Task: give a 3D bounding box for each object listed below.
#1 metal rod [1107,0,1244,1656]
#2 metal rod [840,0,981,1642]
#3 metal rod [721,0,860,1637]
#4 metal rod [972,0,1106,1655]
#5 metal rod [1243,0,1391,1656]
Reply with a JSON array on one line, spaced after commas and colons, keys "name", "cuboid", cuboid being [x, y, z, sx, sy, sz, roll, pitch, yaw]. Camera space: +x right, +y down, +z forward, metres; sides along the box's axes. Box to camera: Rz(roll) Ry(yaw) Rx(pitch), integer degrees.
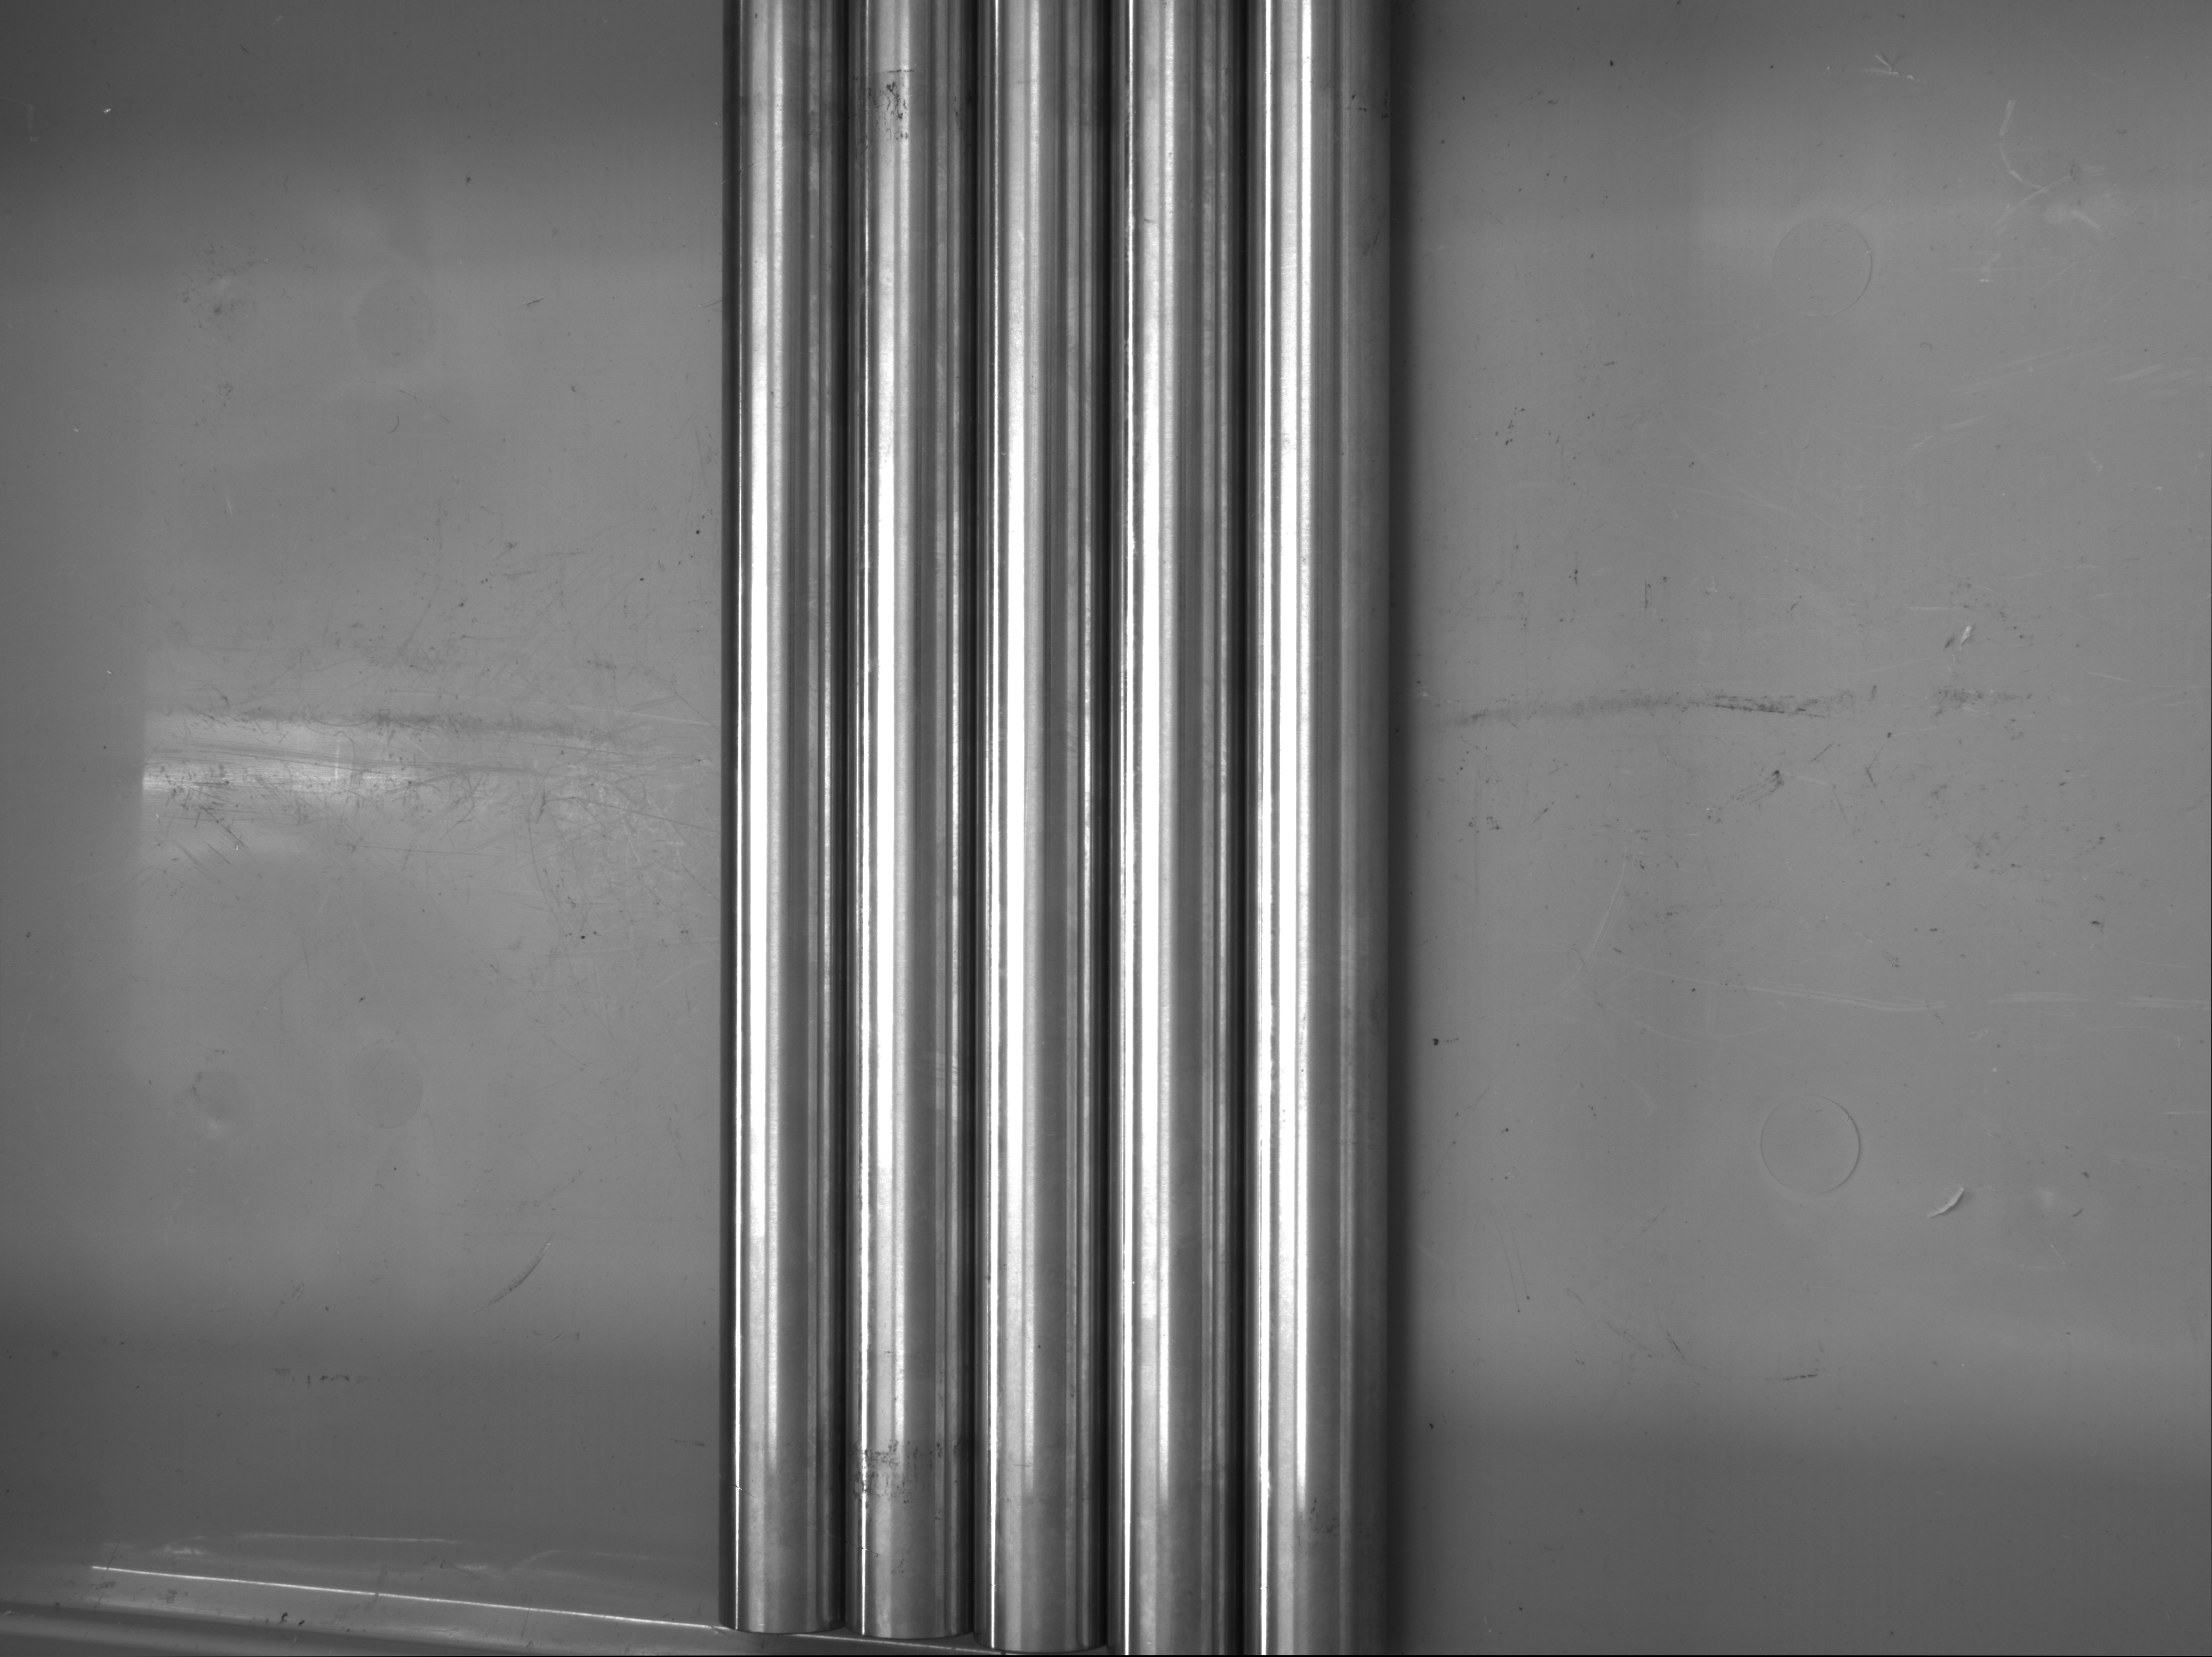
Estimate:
[{"name": "metal rod", "cuboid": [0.013, -0.006, 0.641, 0.025, 0.025, 0.300, 0, 90, 20]}, {"name": "metal rod", "cuboid": [-0.035, -0.007, 0.658, 0.025, 0.025, 0.300, 0, 90, 20]}, {"name": "metal rod", "cuboid": [-0.057, -0.006, 0.666, 0.025, 0.025, 0.300, 0, 90, 20]}, {"name": "metal rod", "cuboid": [-0.011, -0.007, 0.649, 0.025, 0.025, 0.300, 0, 90, 20]}, {"name": "metal rod", "cuboid": [0.036, -0.005, 0.632, 0.025, 0.025, 0.300, 0, 90, 20]}]
